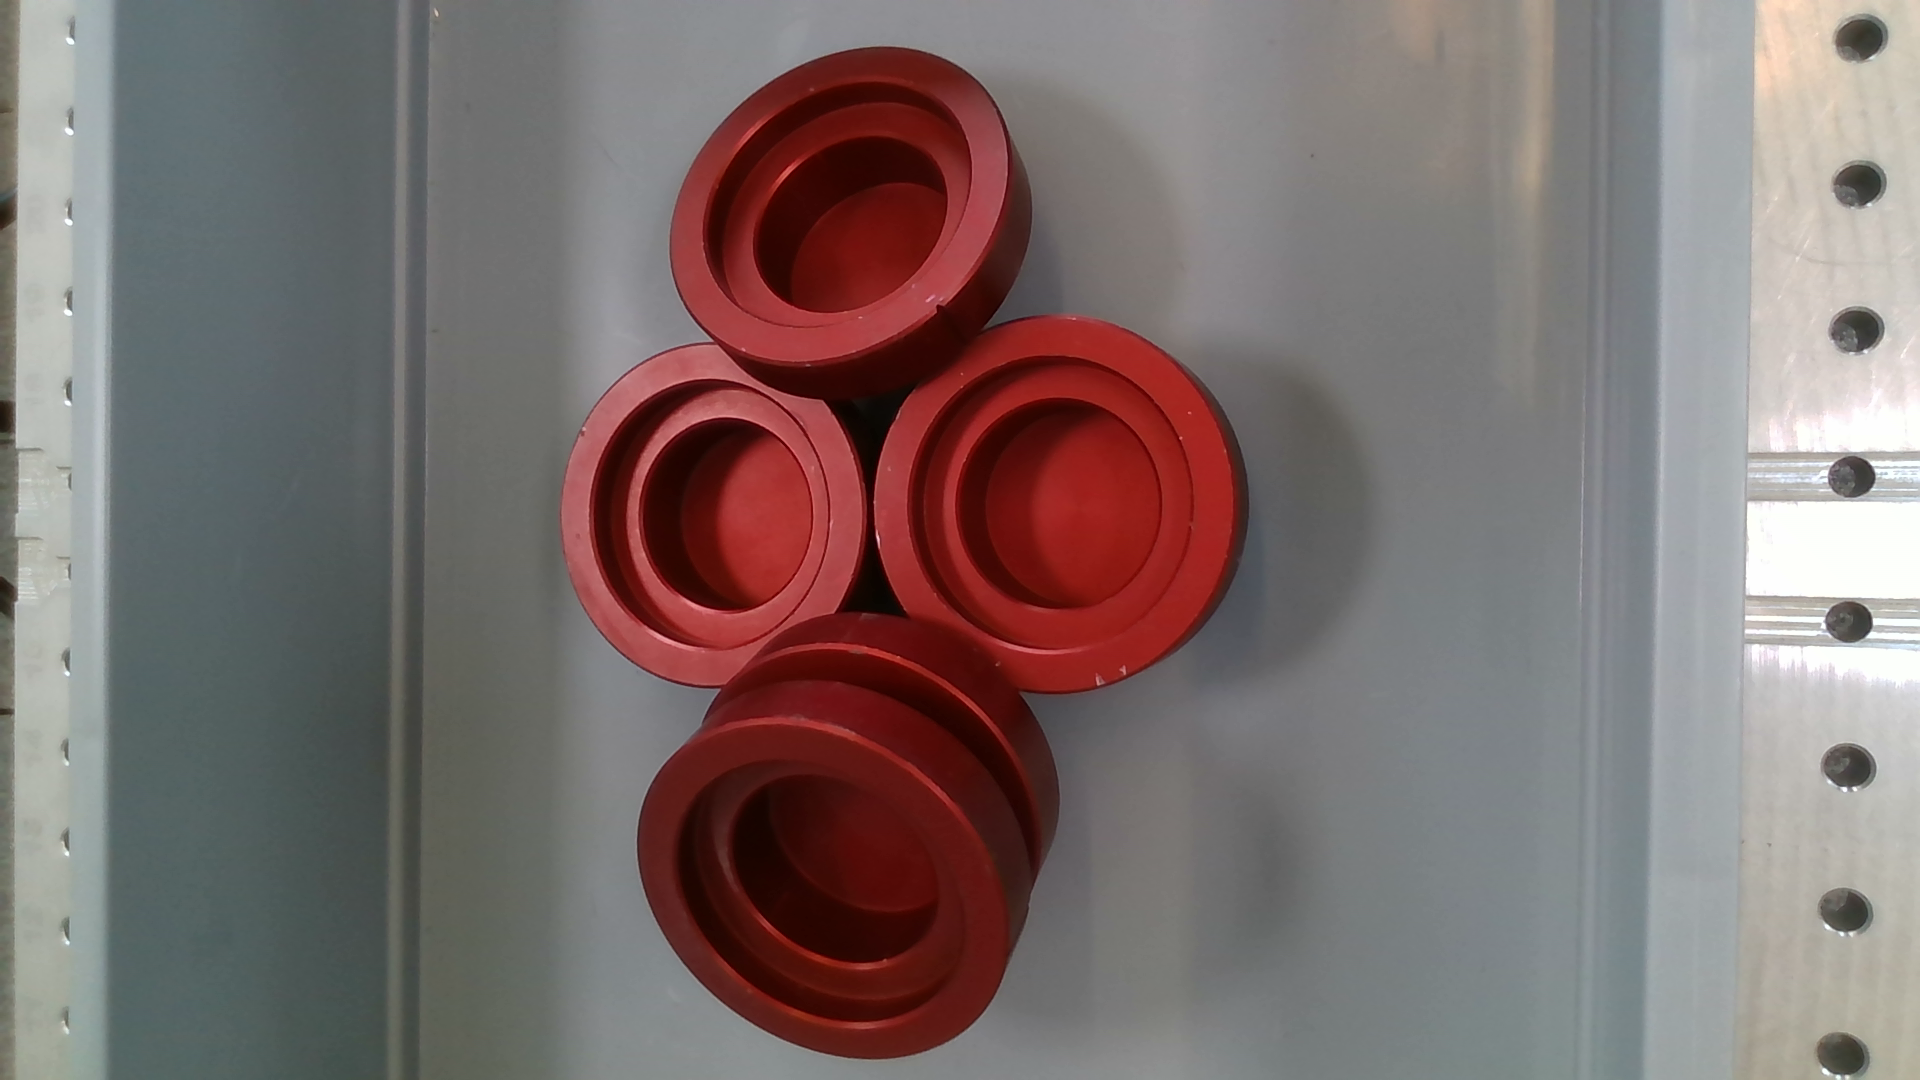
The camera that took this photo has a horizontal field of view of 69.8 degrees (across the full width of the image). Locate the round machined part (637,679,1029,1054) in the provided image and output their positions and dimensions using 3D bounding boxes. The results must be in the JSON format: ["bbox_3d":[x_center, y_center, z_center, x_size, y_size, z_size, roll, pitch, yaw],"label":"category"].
[{"bbox_3d":[-0.029,0.079,0.354,0.098,0.042,0.098,8,115,17],"label":"round machined part"}]

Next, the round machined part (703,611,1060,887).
[{"bbox_3d":[-0.020,0.064,0.380,0.098,0.042,0.098,7,115,16],"label":"round machined part"}]

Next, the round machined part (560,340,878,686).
[{"bbox_3d":[-0.065,-0.008,0.407,0.098,0.042,0.098,0,90,20],"label":"round machined part"}]

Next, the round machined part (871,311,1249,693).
[{"bbox_3d":[0.029,-0.010,0.372,0.098,0.042,0.098,0,90,20],"label":"round machined part"}]

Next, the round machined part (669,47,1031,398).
[{"bbox_3d":[-0.027,-0.083,0.382,0.098,0.042,0.098,-7,67,17],"label":"round machined part"}]
